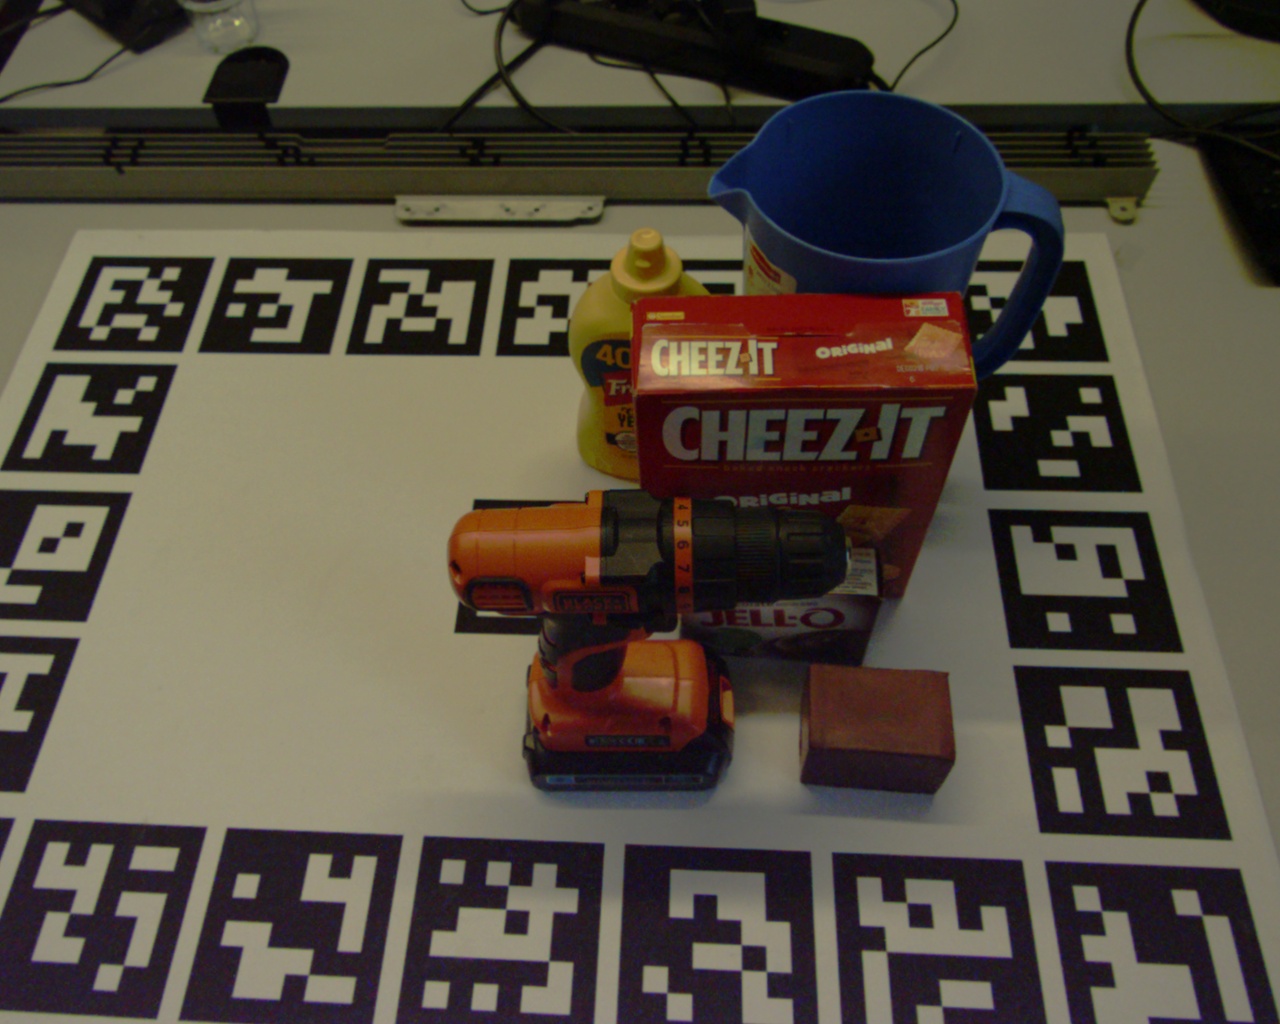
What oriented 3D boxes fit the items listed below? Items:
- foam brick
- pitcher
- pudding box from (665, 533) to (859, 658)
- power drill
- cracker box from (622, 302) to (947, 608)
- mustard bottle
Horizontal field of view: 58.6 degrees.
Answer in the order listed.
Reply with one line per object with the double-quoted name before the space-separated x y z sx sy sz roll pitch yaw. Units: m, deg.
"foam brick" 0.124 0.122 0.670 0.078 0.051 0.053 4 59 5
"pitcher" 0.131 -0.109 0.709 0.190 0.241 0.133 6 58 9
"pudding box" 0.070 0.049 0.681 0.114 0.089 0.039 1 56 7
"power drill" 0.002 0.062 0.595 0.185 0.186 0.057 1 54 3
"cracker box" 0.078 -0.021 0.662 0.164 0.212 0.072 -1 56 5
"mustard bottle" -0.002 -0.106 0.729 0.097 0.190 0.058 13 60 11
